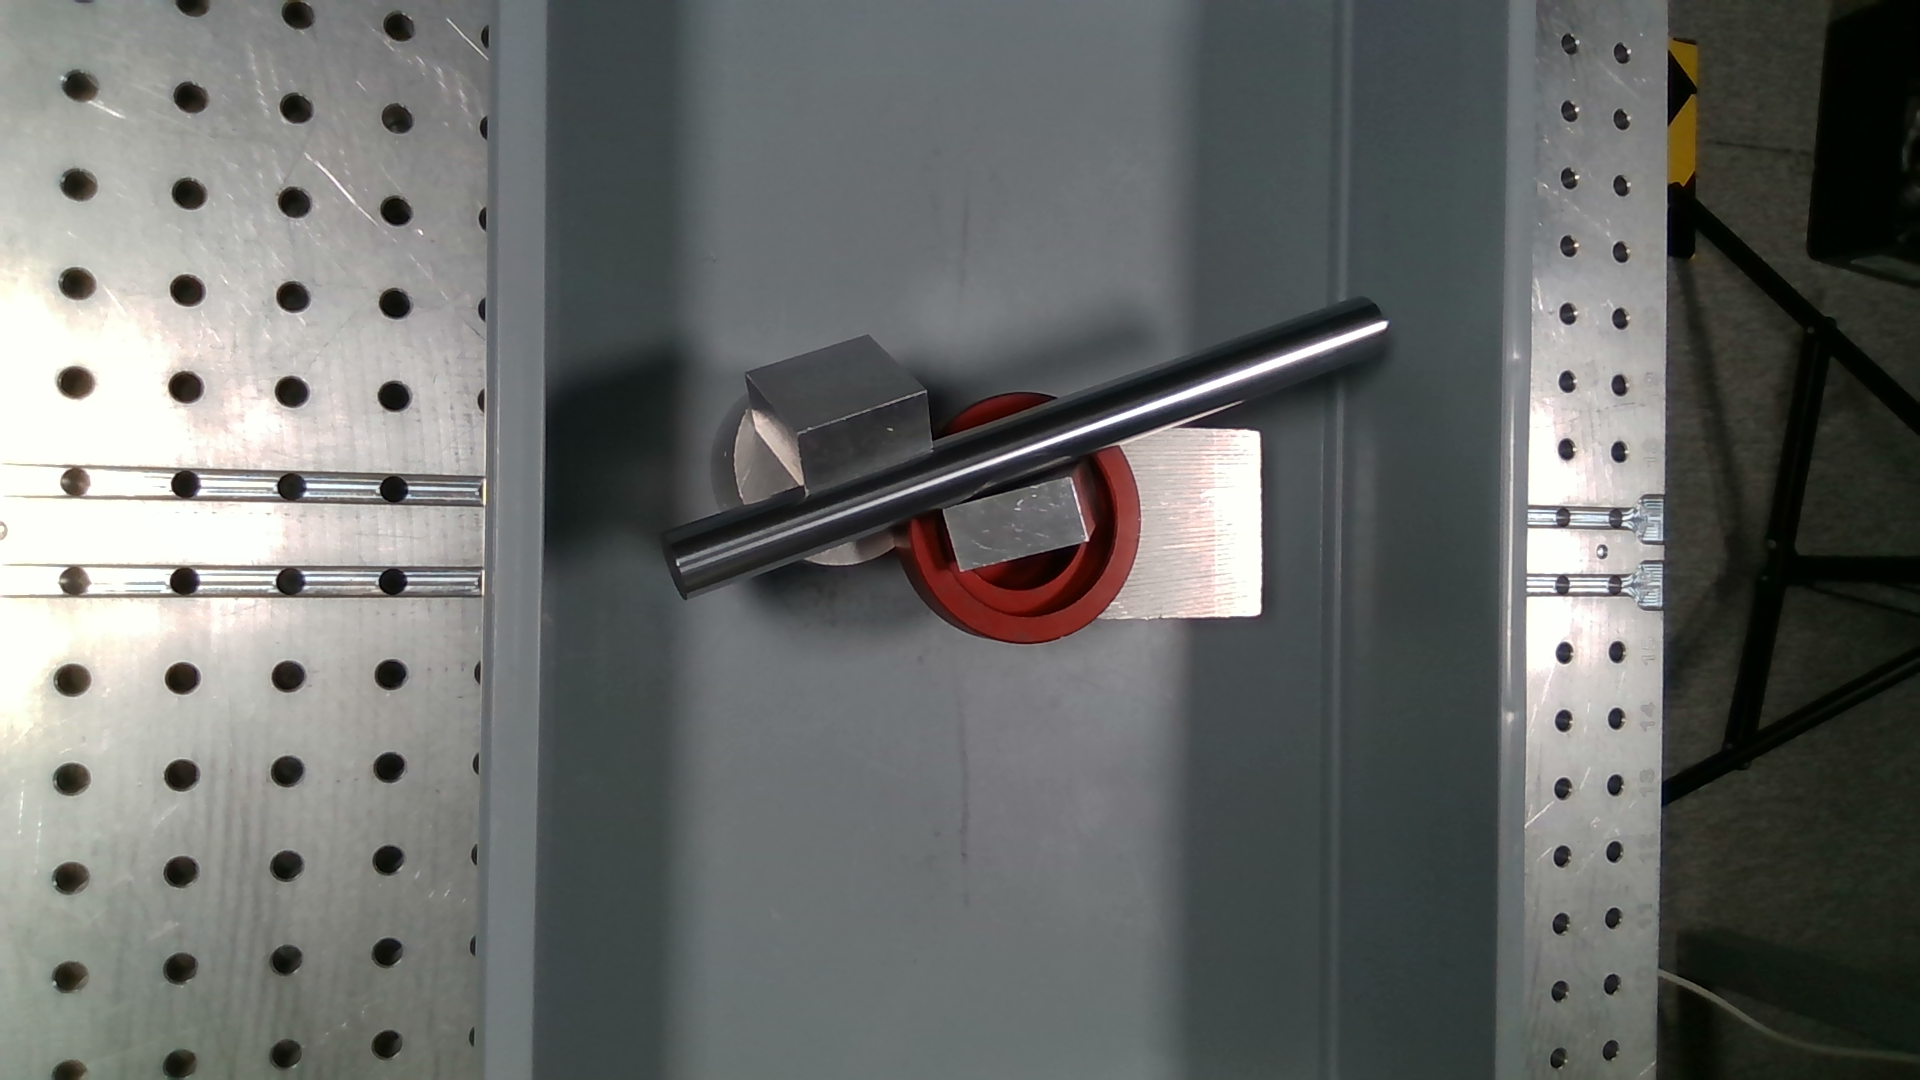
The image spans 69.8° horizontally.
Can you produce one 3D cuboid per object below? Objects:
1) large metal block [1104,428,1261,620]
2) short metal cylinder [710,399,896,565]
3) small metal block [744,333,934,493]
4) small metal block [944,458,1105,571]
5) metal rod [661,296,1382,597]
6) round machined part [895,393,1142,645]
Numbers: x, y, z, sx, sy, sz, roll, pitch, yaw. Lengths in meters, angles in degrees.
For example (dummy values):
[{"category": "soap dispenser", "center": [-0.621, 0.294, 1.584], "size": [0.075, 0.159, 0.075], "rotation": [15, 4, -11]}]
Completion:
[{"category": "large metal block", "center": [0.083, -0.007, 0.601], "size": [0.080, 0.050, 0.080], "rotation": [0, 90, -20]}, {"category": "short metal cylinder", "center": [-0.056, -0.030, 0.551], "size": [0.080, 0.050, 0.080], "rotation": [0, 90, -20]}, {"category": "small metal block", "center": [-0.044, -0.047, 0.499], "size": [0.050, 0.050, 0.025], "rotation": [-20, 130, -20]}, {"category": "small metal block", "center": [0.026, -0.011, 0.530], "size": [0.050, 0.050, 0.025], "rotation": [-14, 100, 15]}, {"category": "metal rod", "center": [0.034, -0.040, 0.523], "size": [0.300, 0.025, 0.025], "rotation": [-20, 97, -19]}, {"category": "round machined part", "center": [0.020, -0.008, 0.552], "size": [0.098, 0.042, 0.098], "rotation": [0, 90, -20]}]
